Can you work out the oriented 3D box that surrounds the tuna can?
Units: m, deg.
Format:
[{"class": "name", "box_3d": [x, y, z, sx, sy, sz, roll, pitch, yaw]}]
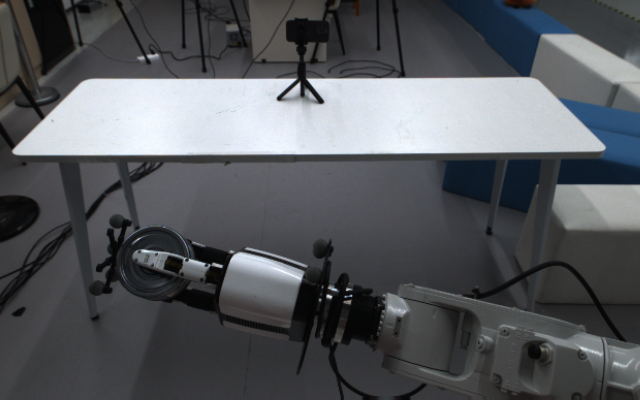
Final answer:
[{"class": "tuna can", "box_3d": [-0.189, 0.074, 0.567, 0.085, 0.034, 0.085, 1, 74, -4]}]
